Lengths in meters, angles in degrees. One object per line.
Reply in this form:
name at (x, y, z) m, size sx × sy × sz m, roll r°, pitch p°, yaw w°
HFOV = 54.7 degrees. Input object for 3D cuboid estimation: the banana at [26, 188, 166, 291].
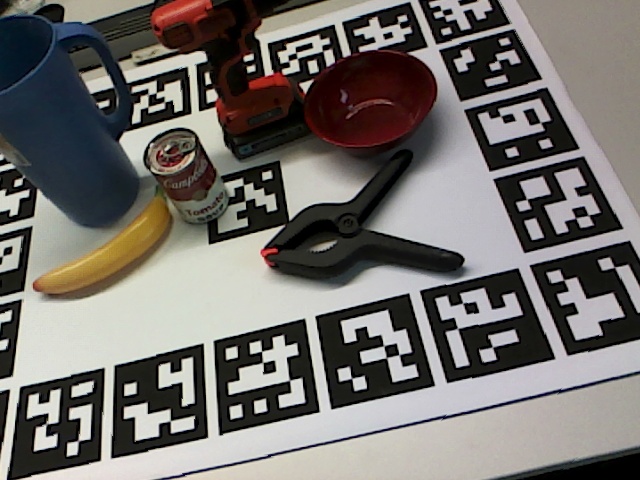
banana at (-0.264, 0.010, 0.752) m, size 0.197 × 0.038 × 0.075 m, roll -35°, pitch 48°, yaw -10°

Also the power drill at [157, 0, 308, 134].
power drill at (-0.075, -0.222, 0.733) m, size 0.184 × 0.186 × 0.057 m, roll -19°, pitch 56°, yaw 2°

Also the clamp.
clamp at (0.026, -0.013, 0.676) m, size 0.203 × 0.036 × 0.166 m, roll -17°, pitch 59°, yaw 4°

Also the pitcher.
pitcher at (-0.301, -0.137, 0.730) m, size 0.188 × 0.241 × 0.134 m, roll -35°, pitch 53°, yaw -8°

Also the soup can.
soup can at (-0.160, -0.080, 0.741) m, size 0.068 × 0.101 × 0.068 m, roll -10°, pitch 48°, yaw 11°

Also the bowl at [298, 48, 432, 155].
bowl at (0.057, -0.158, 0.758) m, size 0.162 × 0.055 × 0.162 m, roll -7°, pitch 58°, yaw 11°
